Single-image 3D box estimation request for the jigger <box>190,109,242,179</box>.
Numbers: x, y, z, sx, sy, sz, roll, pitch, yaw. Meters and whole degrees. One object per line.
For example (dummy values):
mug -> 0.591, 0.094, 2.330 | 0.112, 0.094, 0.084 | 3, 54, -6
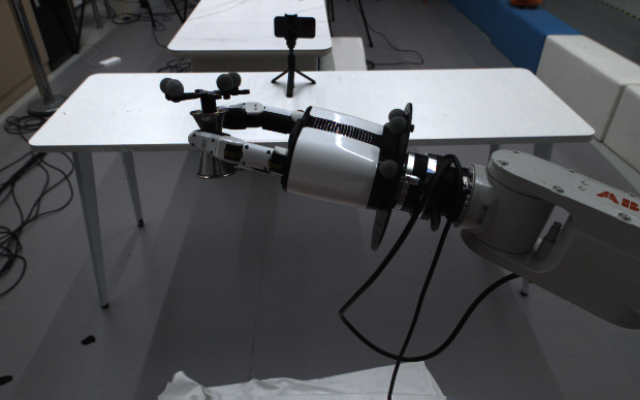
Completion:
jigger -> -0.113, -0.060, 0.518 | 0.043, 0.071, 0.043 | -2, 19, 1
